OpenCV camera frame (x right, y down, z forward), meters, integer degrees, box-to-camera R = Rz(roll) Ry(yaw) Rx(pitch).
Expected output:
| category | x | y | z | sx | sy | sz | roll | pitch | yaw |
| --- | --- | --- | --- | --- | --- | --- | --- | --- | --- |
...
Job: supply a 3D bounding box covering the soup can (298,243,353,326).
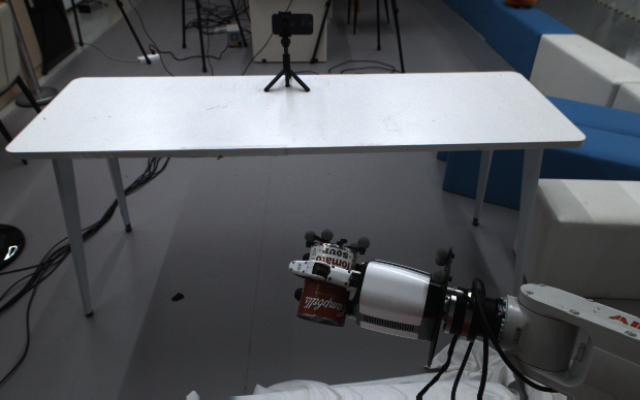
| category | x | y | z | sx | sy | sz | roll | pitch | yaw |
| --- | --- | --- | --- | --- | --- | --- | --- | --- | --- |
| soup can | 0.011 | 0.118 | 0.670 | 0.067 | 0.067 | 0.101 | 9 | 71 | 9 |
